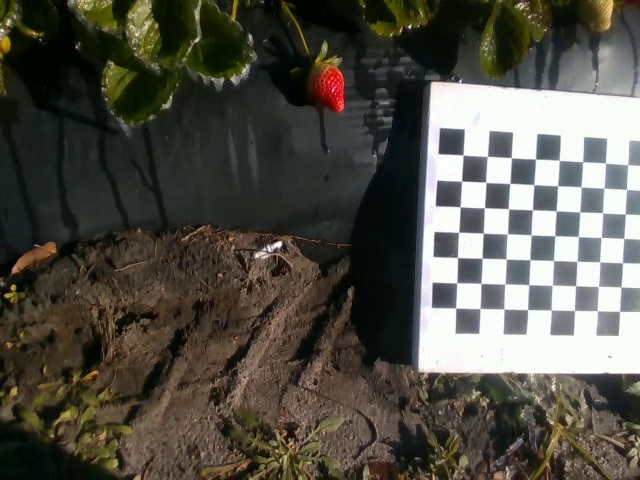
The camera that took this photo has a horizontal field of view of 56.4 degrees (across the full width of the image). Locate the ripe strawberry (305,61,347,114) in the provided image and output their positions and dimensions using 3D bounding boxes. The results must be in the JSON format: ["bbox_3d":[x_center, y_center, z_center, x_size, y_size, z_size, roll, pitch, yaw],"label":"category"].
[{"bbox_3d":[0.009,-0.133,0.519,0.039,0.053,0.041,-20,-11,-8],"label":"ripe strawberry"}]
